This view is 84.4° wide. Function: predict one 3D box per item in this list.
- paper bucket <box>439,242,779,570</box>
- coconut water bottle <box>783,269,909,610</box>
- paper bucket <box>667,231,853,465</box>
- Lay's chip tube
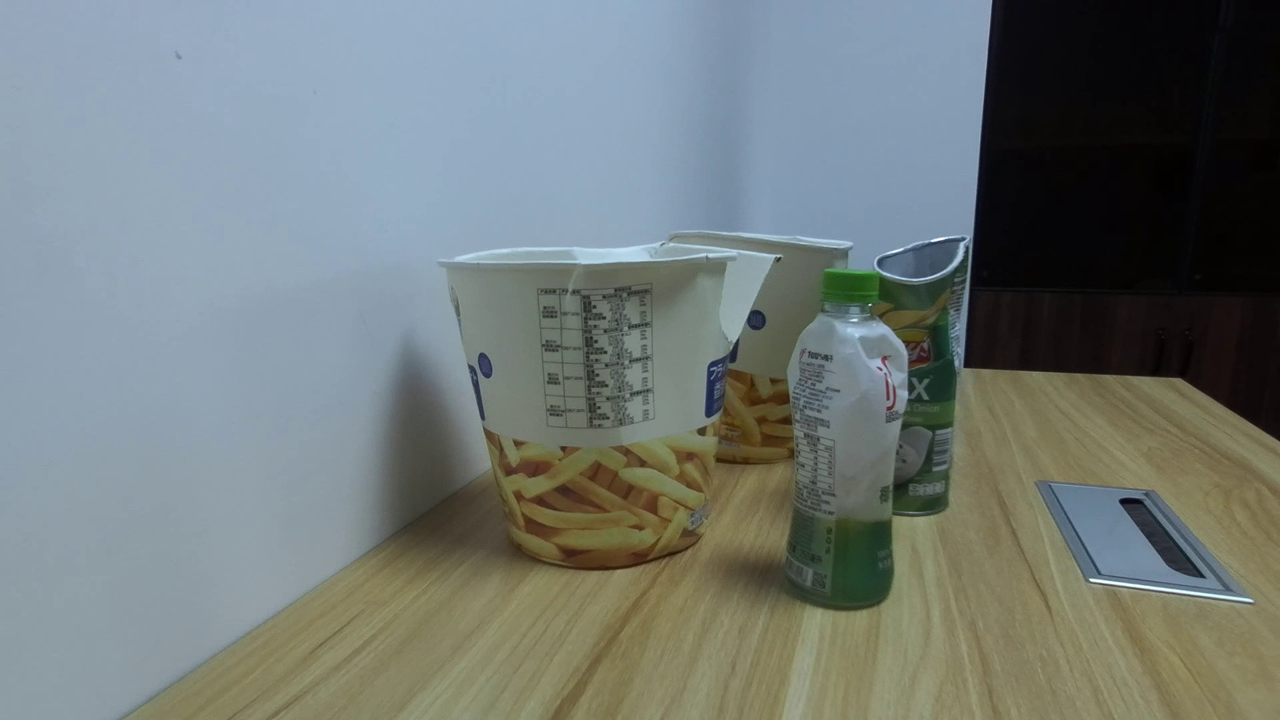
[{"bbox_3d":[-0.021,0.021,0.495,0.203,0.197,0.145,-9,17,-25],"label":"paper bucket"},{"bbox_3d":[0.118,0.043,0.407,0.067,0.187,0.067,0,12,0],"label":"coconut water bottle"},{"bbox_3d":[0.100,-0.028,0.678,0.217,0.199,0.148,8,18,33],"label":"paper bucket"},{"bbox_3d":[0.199,0.015,0.515,0.079,0.199,0.071,0,20,8],"label":"Lay's chip tube"}]
